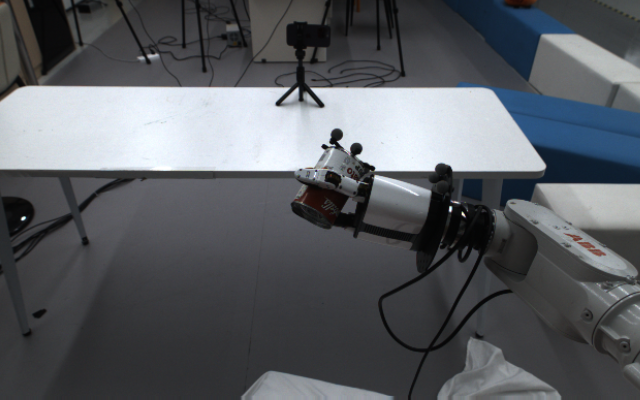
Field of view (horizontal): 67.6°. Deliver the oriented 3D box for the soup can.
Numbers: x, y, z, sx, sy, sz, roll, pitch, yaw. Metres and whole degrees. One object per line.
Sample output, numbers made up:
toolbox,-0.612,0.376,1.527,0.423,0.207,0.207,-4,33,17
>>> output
soup can,0.013,-0.018,0.696,0.067,0.067,0.101,22,71,27
